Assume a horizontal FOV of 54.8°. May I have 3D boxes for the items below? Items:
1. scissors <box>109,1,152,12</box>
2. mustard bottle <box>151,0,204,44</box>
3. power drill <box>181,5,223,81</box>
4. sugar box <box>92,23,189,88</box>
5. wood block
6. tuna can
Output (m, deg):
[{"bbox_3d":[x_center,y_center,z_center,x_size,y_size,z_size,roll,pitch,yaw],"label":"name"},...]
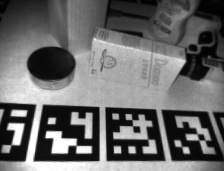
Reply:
[{"bbox_3d":[0.006,-0.209,0.566,0.203,0.016,0.087,7,53,-7],"label":"scissors"},{"bbox_3d":[0.154,-0.188,0.487,0.059,0.192,0.095,-34,69,-25],"label":"mustard bottle"},{"bbox_3d":[0.192,-0.110,0.516,0.184,0.057,0.187,16,64,0],"label":"power drill"},{"bbox_3d":[0.052,-0.057,0.436,0.177,0.093,0.045,15,53,-3],"label":"sugar box"},{"bbox_3d":[-0.063,-0.177,0.431,0.091,0.206,0.089,-22,65,-21],"label":"wood block"},{"bbox_3d":[-0.115,-0.050,0.429,0.086,0.034,0.085,6,58,-8],"label":"tuna can"}]
